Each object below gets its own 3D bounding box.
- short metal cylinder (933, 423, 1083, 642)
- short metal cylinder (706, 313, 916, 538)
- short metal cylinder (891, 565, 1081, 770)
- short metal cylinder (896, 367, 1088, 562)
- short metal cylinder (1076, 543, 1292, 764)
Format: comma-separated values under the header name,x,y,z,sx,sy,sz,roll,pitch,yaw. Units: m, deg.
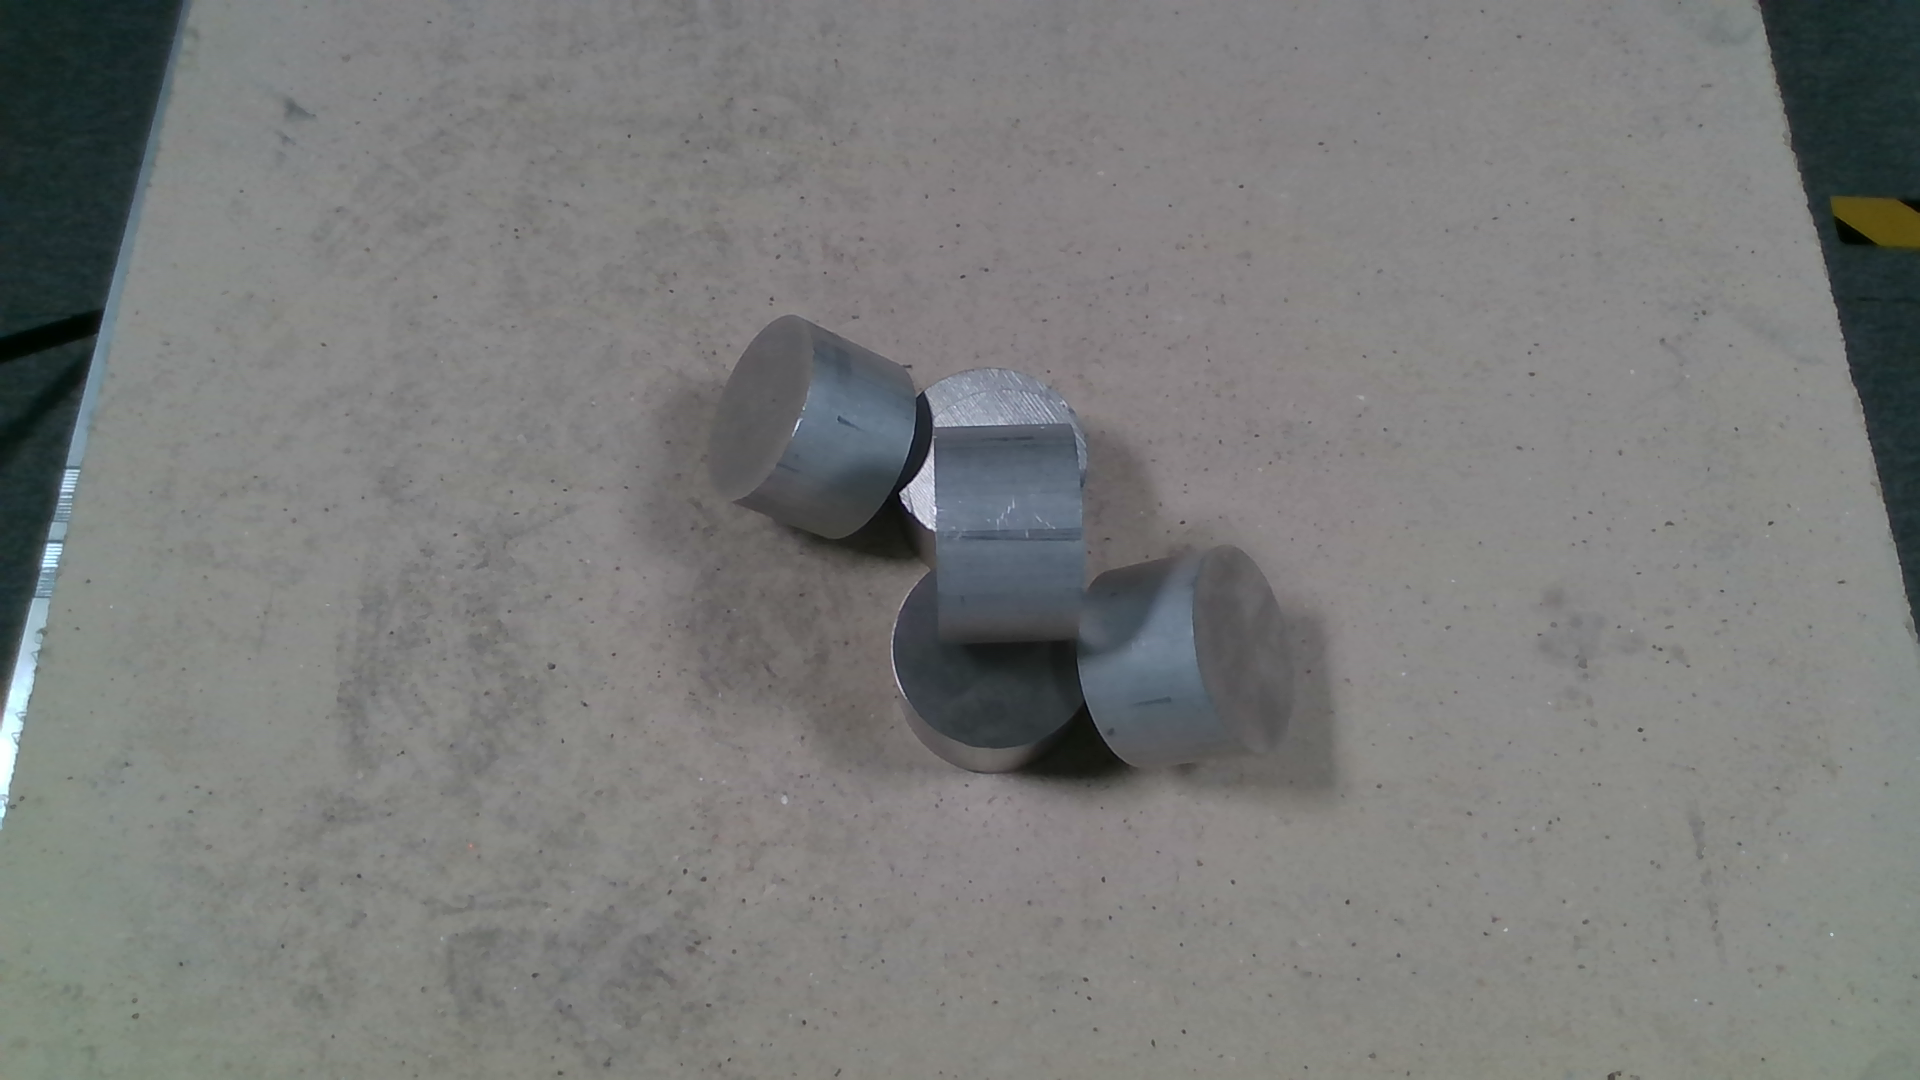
name,x,y,z,sx,sy,sz,roll,pitch,yaw
short metal cylinder,0.016,-0.003,0.507,0.050,0.080,0.080,-2,70,-1
short metal cylinder,-0.062,-0.047,0.568,0.050,0.080,0.080,22,66,-34
short metal cylinder,0.013,0.049,0.557,0.080,0.050,0.080,0,70,0
short metal cylinder,0.012,-0.026,0.584,0.080,0.050,0.080,0,70,0
short metal cylinder,0.088,0.045,0.535,0.050,0.080,0.080,-14,65,36
